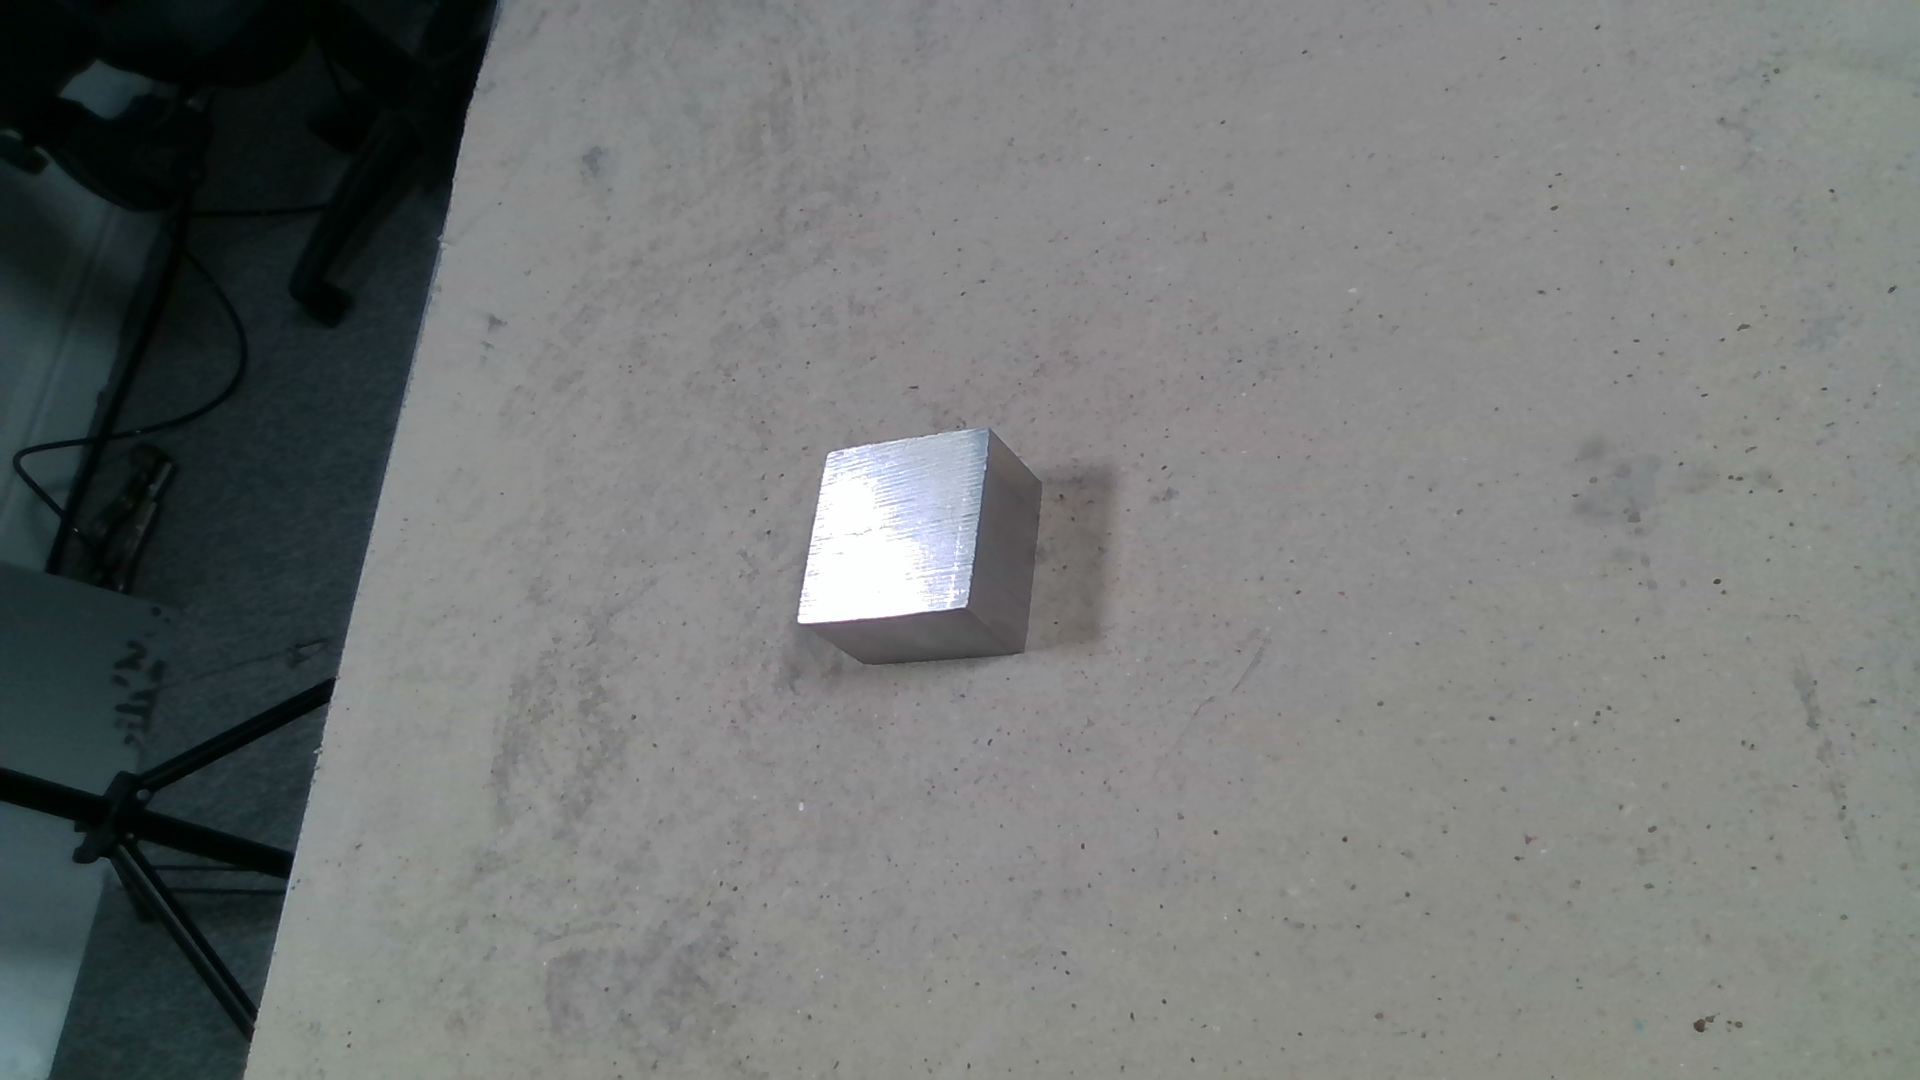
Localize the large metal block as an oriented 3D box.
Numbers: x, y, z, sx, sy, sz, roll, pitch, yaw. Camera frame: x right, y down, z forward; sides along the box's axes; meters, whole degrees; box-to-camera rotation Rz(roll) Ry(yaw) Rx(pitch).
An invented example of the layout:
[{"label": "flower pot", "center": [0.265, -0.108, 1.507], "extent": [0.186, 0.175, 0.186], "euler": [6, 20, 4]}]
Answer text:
[{"label": "large metal block", "center": [-0.016, 0.004, 0.577], "extent": [0.080, 0.050, 0.080], "euler": [-7, 62, 29]}]
